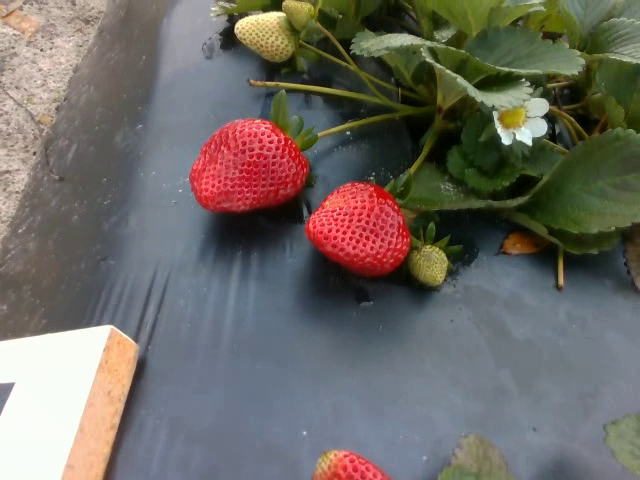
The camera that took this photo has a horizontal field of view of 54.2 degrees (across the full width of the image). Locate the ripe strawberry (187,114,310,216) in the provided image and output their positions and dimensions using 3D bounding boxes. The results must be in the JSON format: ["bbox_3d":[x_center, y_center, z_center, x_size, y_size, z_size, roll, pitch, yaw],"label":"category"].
[{"bbox_3d":[-0.042,-0.035,0.312,0.058,0.044,0.065,13,45,44],"label":"ripe strawberry"}]

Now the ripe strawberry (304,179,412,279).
[{"bbox_3d":[0.014,-0.006,0.291,0.050,0.051,0.059,6,9,42],"label":"ripe strawberry"}]
